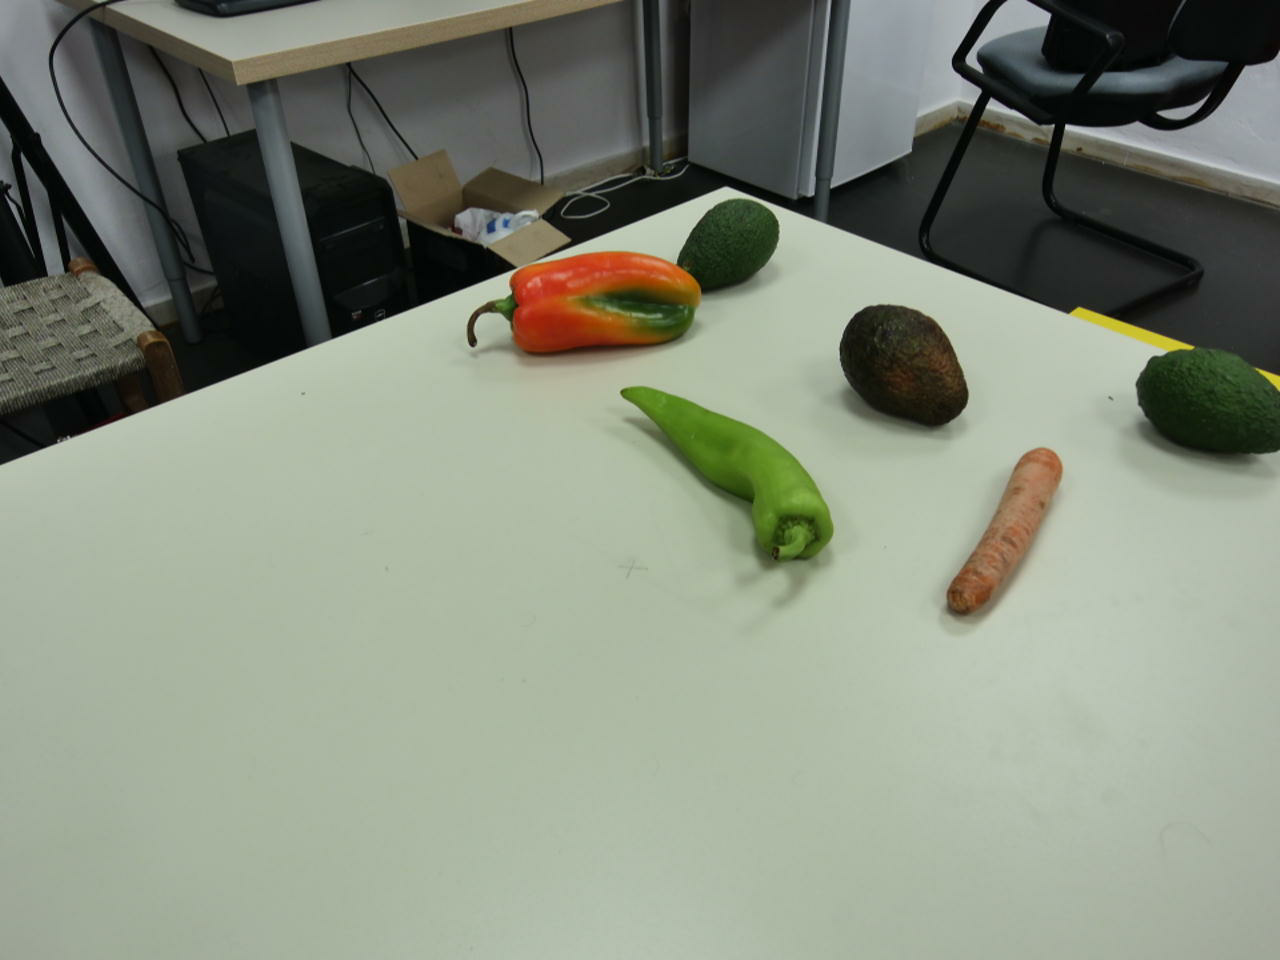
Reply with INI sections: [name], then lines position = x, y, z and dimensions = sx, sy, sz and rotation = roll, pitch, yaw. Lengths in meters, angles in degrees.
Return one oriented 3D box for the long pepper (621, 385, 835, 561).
[long pepper]
position = 0.058, -0.014, 0.624
dimensions = 0.065, 0.045, 0.204
rotation = -15, 39, -20
